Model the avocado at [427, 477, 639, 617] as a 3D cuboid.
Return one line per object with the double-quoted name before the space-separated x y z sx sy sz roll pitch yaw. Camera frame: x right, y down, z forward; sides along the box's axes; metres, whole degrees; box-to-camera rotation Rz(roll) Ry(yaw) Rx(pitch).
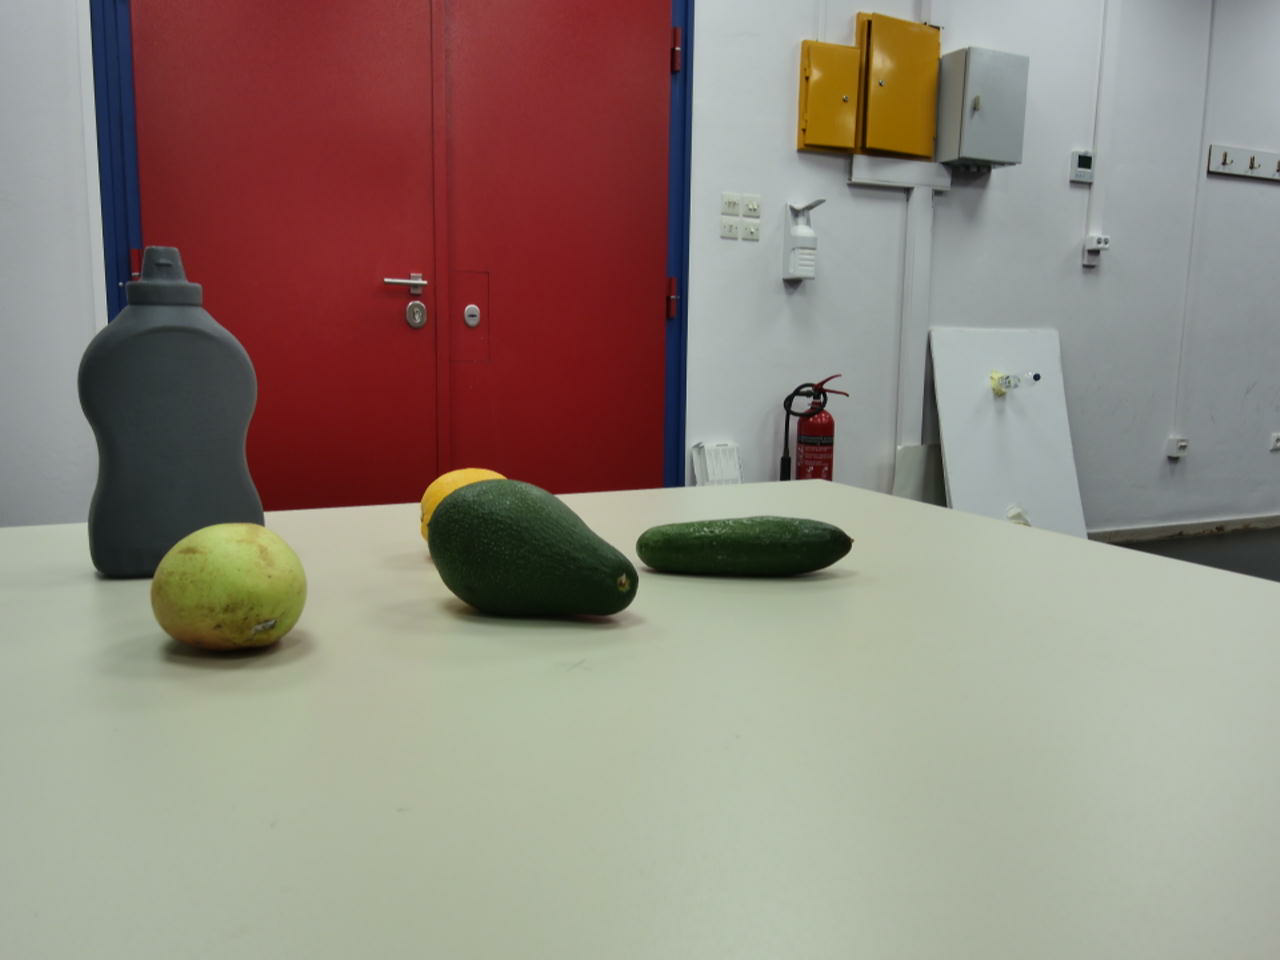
"avocado" -0.059 0.035 0.517 0.110 0.071 0.072 6 8 42
